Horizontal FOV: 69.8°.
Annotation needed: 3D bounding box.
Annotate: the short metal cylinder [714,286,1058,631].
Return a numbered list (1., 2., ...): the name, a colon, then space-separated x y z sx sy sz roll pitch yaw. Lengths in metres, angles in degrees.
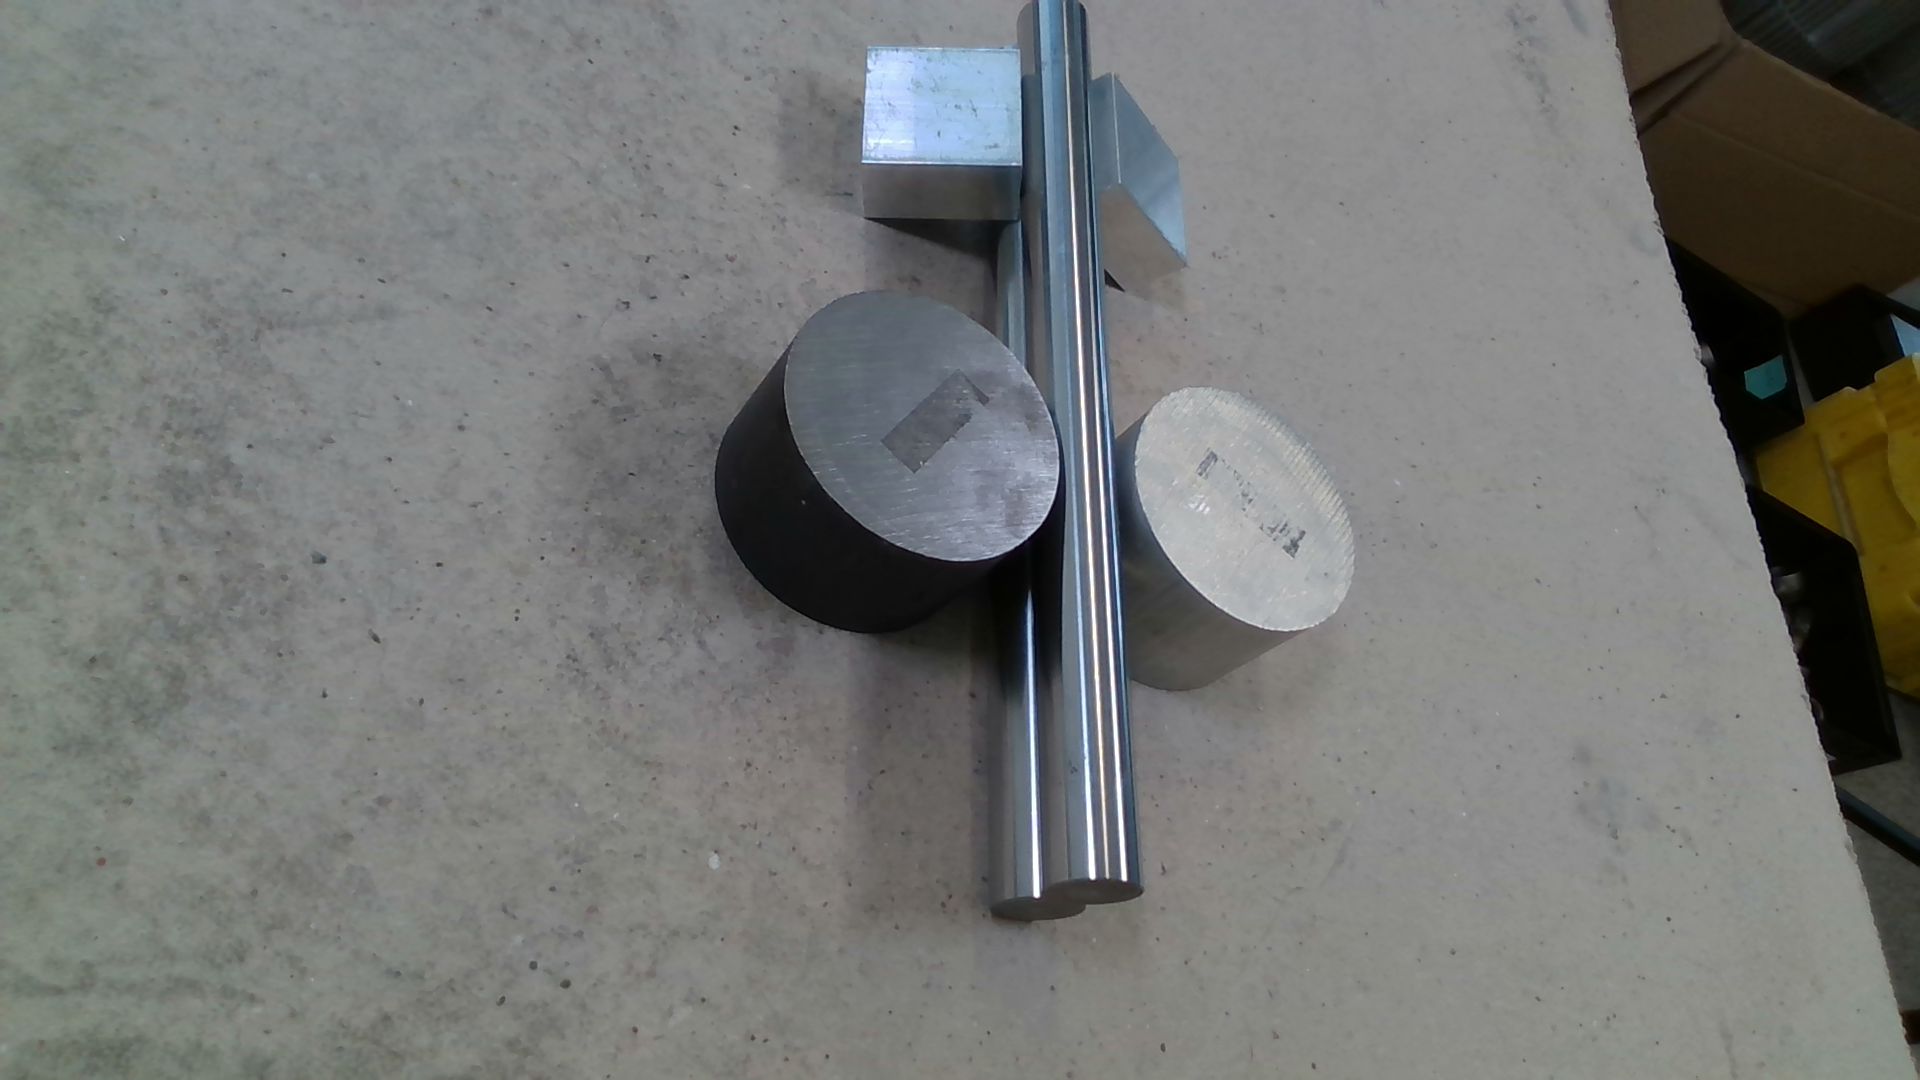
1. short metal cylinder: -0.020 -0.021 0.376 0.080 0.050 0.080 14 59 -25

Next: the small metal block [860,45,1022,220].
1. small metal block: -0.006 -0.132 0.448 0.050 0.025 0.050 1 62 -1

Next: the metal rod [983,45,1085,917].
1. metal rod: 0.020 -0.037 0.426 0.025 0.025 0.299 14 59 -25

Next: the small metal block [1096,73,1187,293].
1. small metal block: 0.055 -0.124 0.482 0.050 0.025 0.050 35 46 -47

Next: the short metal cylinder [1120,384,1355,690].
1. short metal cylinder: 0.073 0.000 0.422 0.080 0.050 0.080 14 59 -25

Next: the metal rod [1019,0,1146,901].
1. metal rod: 0.032 -0.046 0.406 0.025 0.025 0.299 14 59 -25
